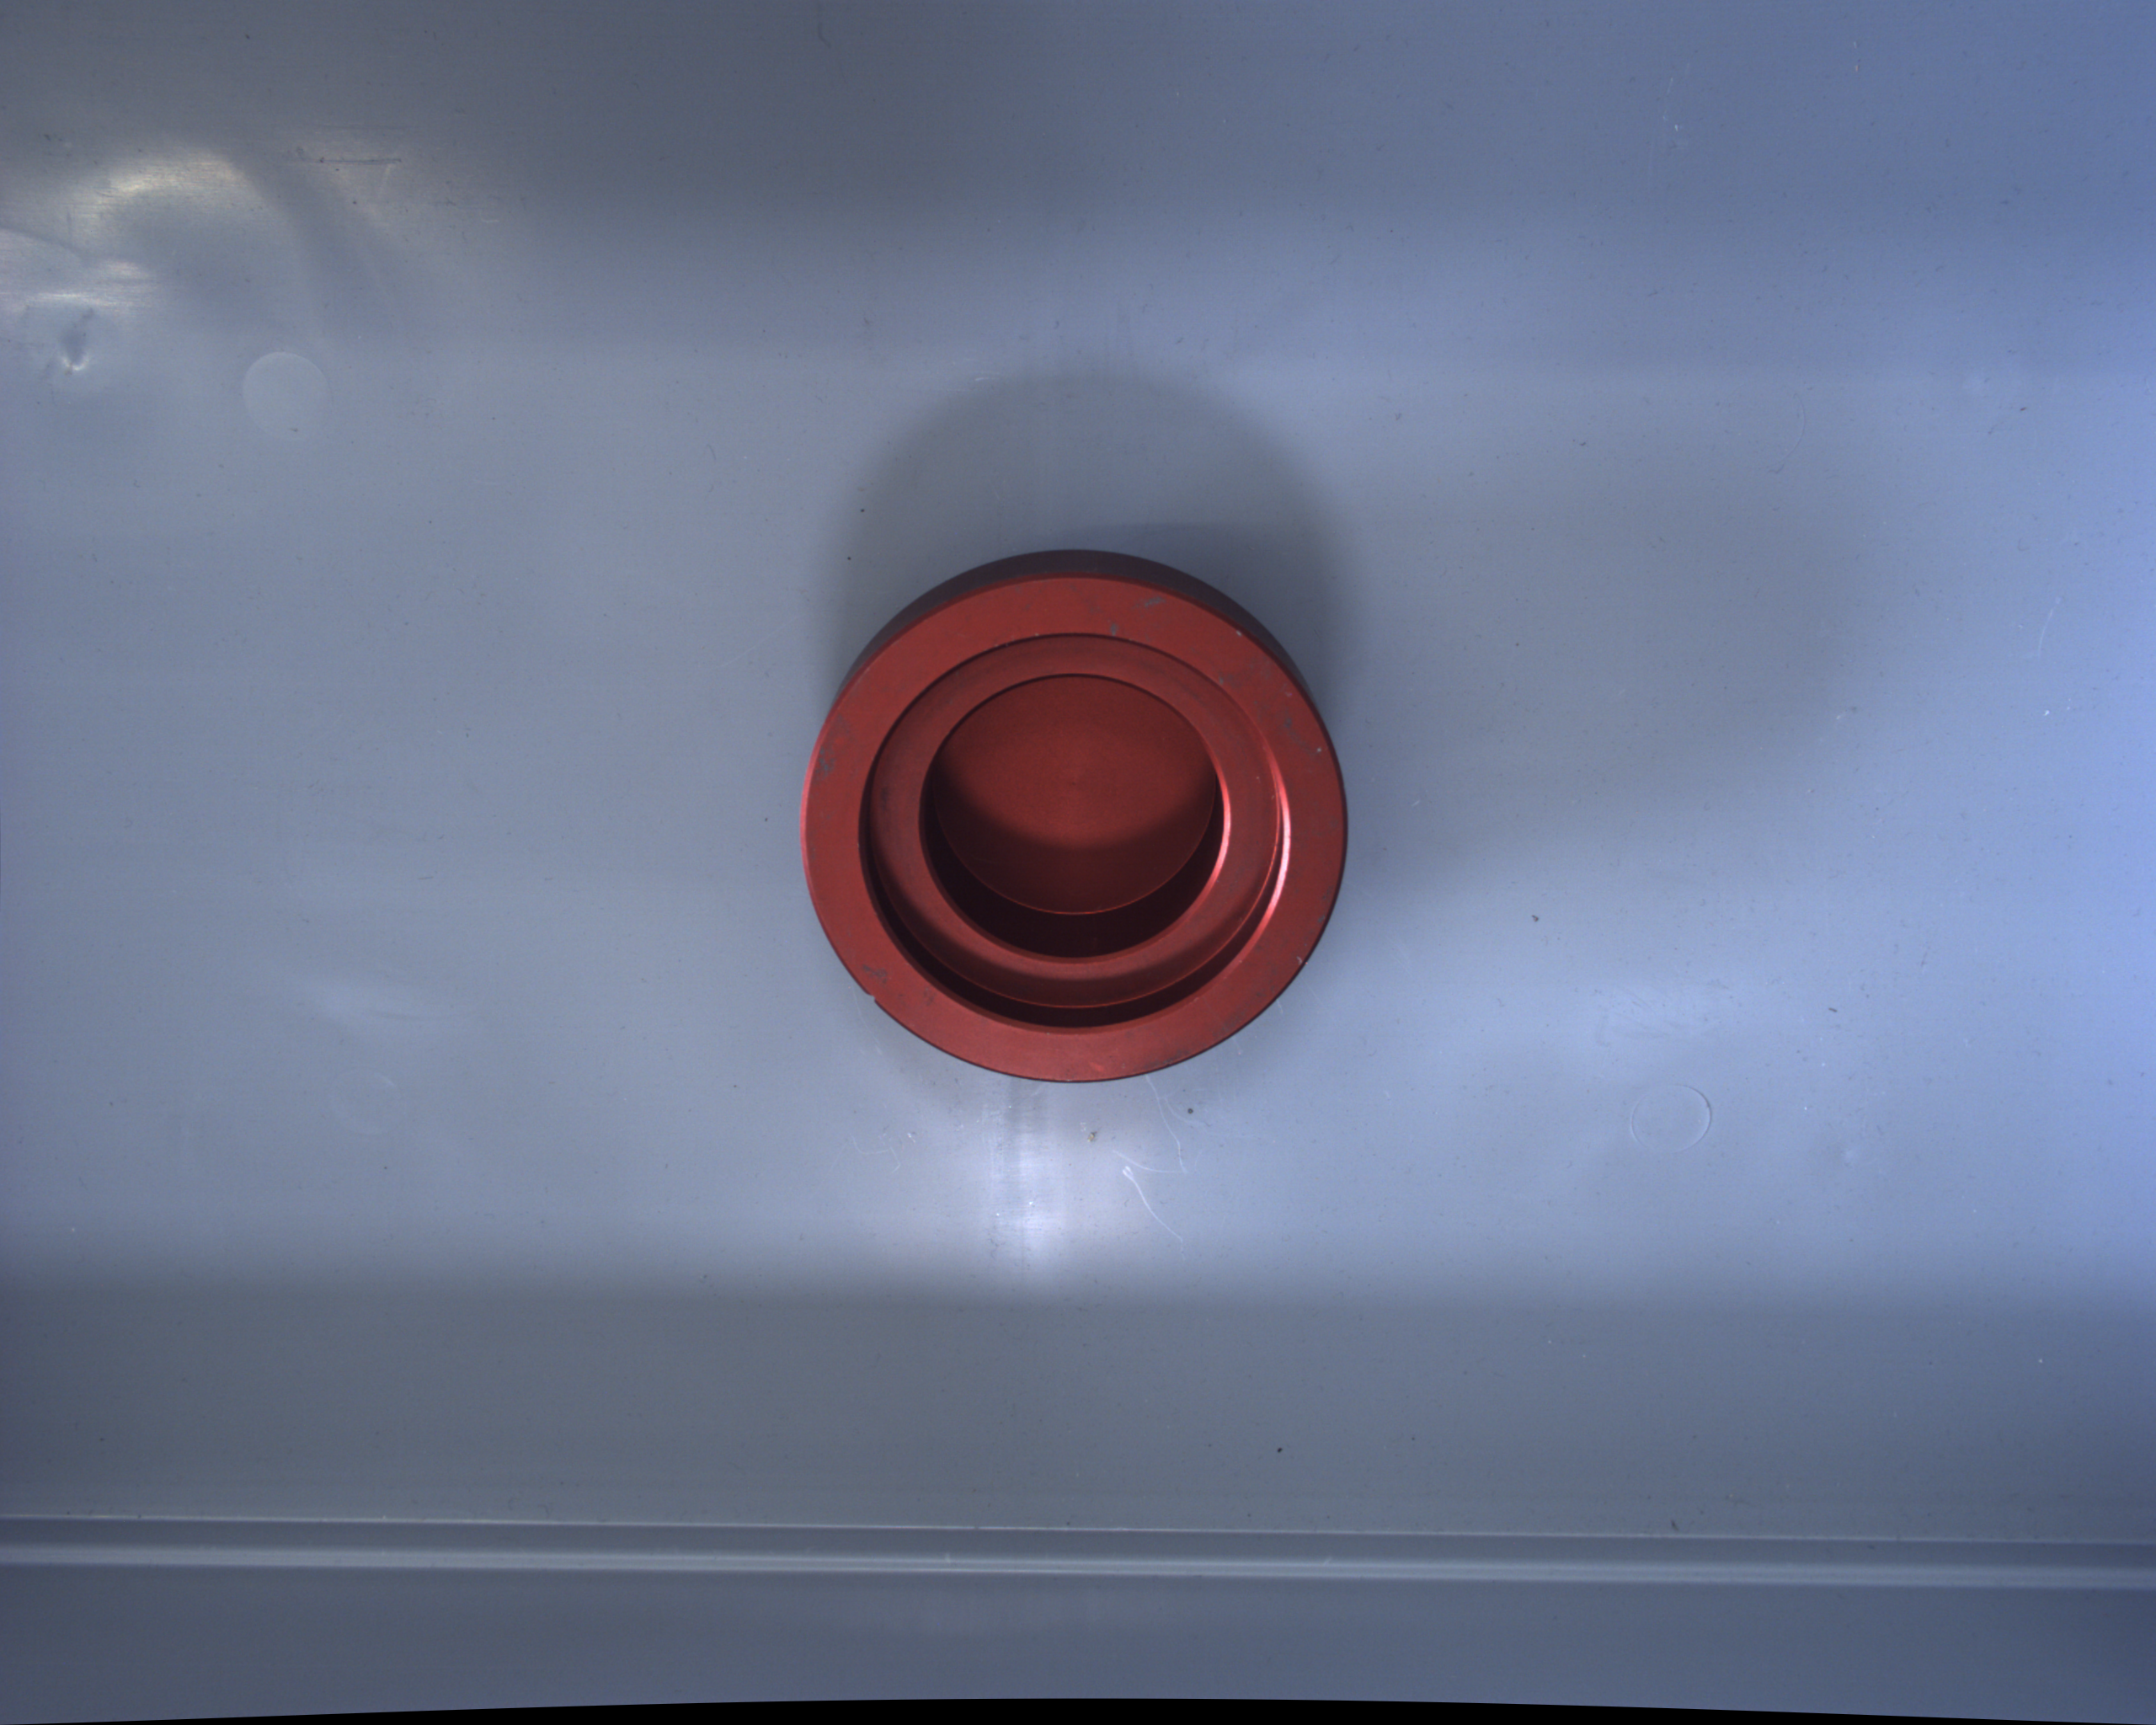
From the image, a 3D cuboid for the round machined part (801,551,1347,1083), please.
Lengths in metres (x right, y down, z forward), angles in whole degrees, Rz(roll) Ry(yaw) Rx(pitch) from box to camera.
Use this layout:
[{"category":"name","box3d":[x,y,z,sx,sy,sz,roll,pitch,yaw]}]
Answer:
[{"category":"round machined part","box3d":[-0.001,-0.011,0.395,0.099,0.042,0.097,0,110,0]}]
